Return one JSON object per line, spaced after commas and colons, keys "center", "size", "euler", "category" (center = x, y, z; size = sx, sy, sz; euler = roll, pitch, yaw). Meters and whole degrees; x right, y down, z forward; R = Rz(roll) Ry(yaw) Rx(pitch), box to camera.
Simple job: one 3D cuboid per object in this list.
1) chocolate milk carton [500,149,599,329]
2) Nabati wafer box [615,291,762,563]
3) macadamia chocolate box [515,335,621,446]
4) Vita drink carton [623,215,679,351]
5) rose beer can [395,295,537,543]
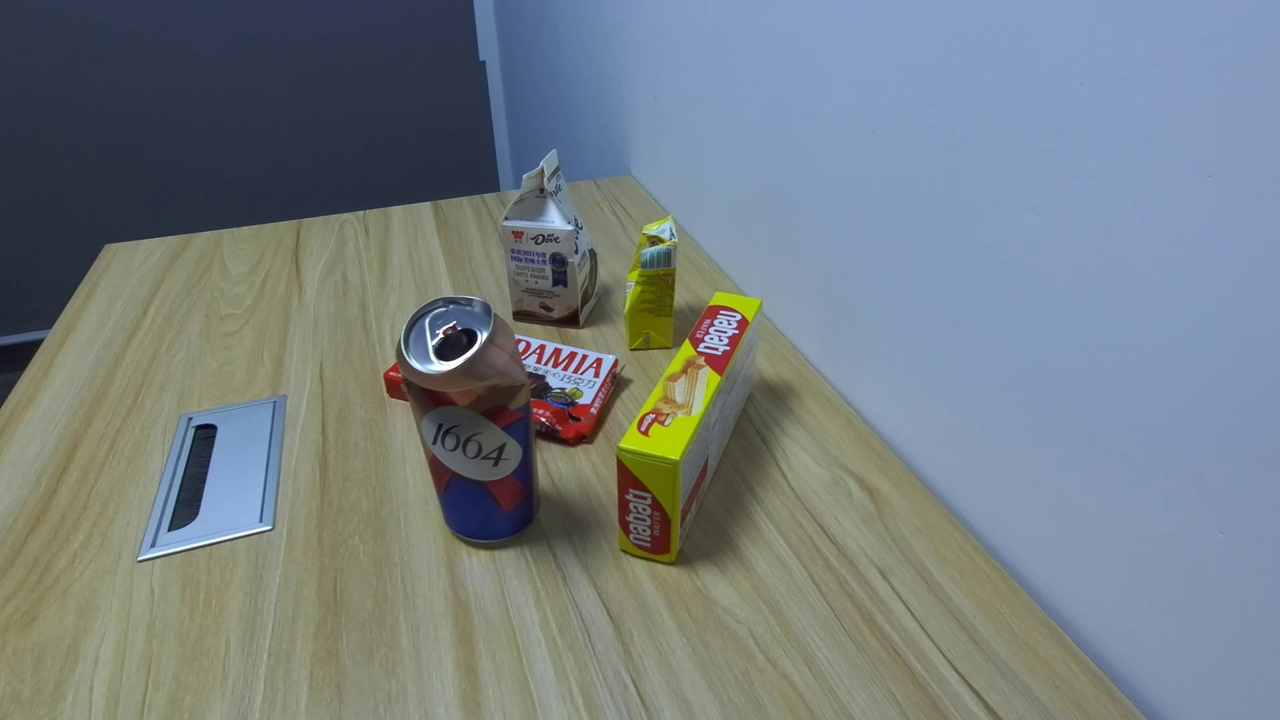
{"center": [-0.084, -0.118, 0.680], "size": [0.073, 0.155, 0.084], "euler": [7, 34, 12], "category": "chocolate milk carton"}
{"center": [0.040, 0.038, 0.508], "size": [0.042, 0.093, 0.203], "euler": [13, 37, 18], "category": "Nabati wafer box"}
{"center": [-0.113, 0.017, 0.604], "size": [0.186, 0.027, 0.103], "euler": [11, 40, 17], "category": "macadamia chocolate box"}
{"center": [0.009, -0.071, 0.648], "size": [0.046, 0.110, 0.071], "euler": [-1, 34, -3], "category": "Vita drink carton"}
{"center": [-0.104, 0.042, 0.447], "size": [0.069, 0.168, 0.069], "euler": [-17, 41, -18], "category": "rose beer can"}
